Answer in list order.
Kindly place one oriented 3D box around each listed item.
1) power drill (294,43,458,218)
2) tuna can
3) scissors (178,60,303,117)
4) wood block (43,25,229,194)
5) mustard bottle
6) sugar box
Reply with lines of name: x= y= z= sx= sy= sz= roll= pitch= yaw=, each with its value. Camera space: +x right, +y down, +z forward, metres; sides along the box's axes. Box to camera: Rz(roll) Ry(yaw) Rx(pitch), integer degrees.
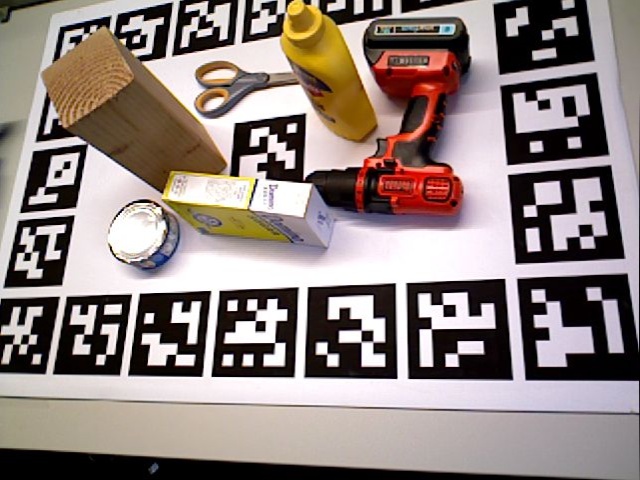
power drill: x=0.071 y=-0.120 z=0.607 sx=0.185 sy=0.057 sz=0.187 roll=10 pitch=84 yaw=21
tuna can: x=-0.223 y=-0.005 z=0.680 sx=0.086 sy=0.034 sz=0.085 roll=-5 pitch=73 yaw=16
scissors: x=-0.099 y=-0.208 z=0.712 sx=0.204 sy=0.016 sz=0.087 roll=-2 pitch=69 yaw=18
wood block: x=-0.202 y=-0.133 z=0.631 sx=0.091 sy=0.207 sz=0.089 roll=-31 pitch=67 yaw=5
mustard bottle: x=0.011 y=-0.184 z=0.582 sx=0.058 sy=0.192 sz=0.096 roll=-42 pitch=66 yaw=1
sugar box: x=-0.071 y=-0.032 z=0.610 sx=0.177 sy=0.093 sz=0.045 roll=8 pitch=71 yaw=18
